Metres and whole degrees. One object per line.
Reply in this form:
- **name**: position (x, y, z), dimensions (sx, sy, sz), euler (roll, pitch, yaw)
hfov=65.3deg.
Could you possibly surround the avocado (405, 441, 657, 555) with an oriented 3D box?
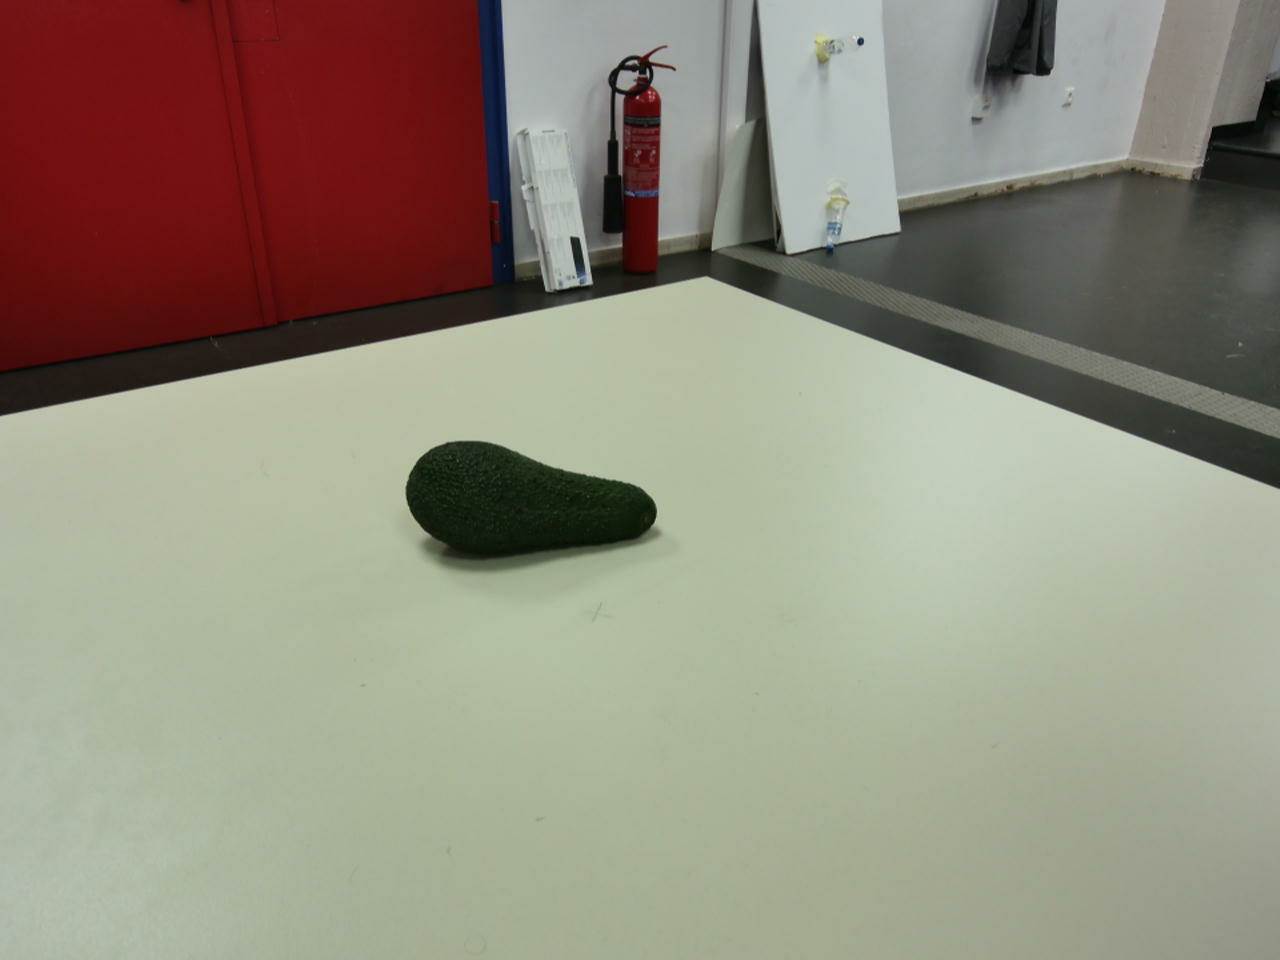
- **avocado**: position (-0.061, 0.005, 0.568), dimensions (0.141, 0.067, 0.063), euler (-9, 28, -20)
